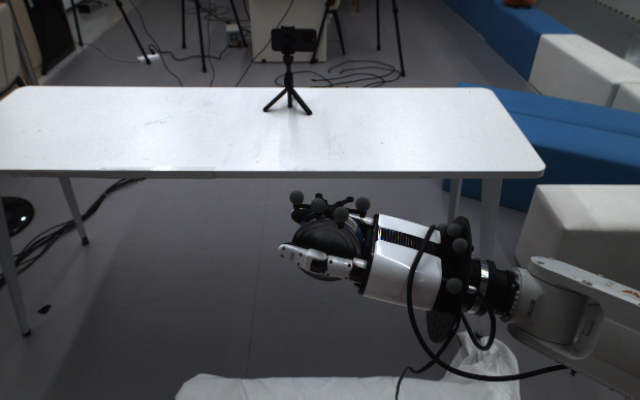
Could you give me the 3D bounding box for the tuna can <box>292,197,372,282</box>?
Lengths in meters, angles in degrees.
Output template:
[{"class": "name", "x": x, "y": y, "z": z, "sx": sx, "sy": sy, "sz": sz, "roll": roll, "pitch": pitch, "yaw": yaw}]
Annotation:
[{"class": "tuna can", "x": 0.012, "y": 0.054, "z": 0.597, "sx": 0.085, "sy": 0.085, "sz": 0.034, "roll": 9, "pitch": 23, "yaw": 10}]
